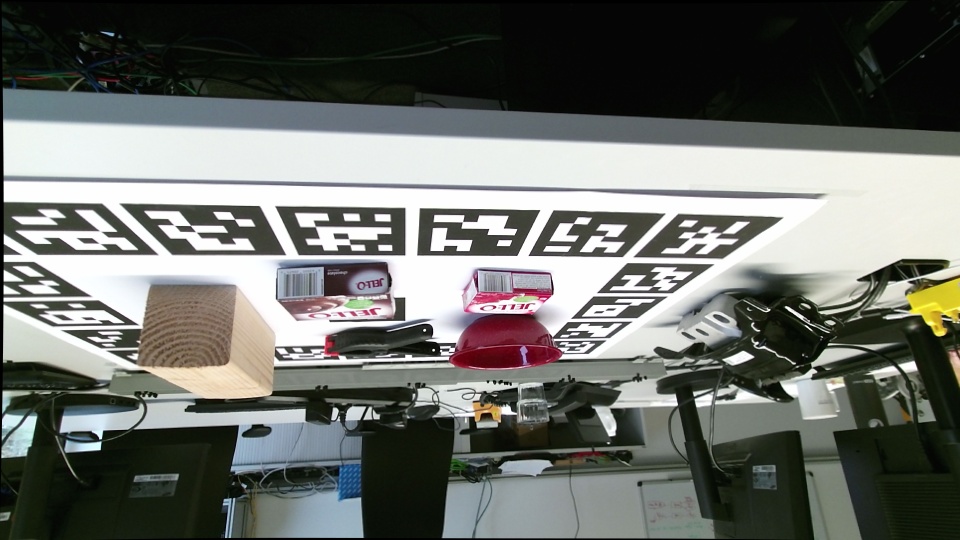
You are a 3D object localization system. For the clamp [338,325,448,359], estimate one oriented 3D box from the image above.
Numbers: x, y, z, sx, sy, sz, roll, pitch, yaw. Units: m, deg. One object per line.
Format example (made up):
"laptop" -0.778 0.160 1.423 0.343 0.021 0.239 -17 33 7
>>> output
"clamp" -0.129 0.113 0.791 0.166 0.036 0.122 -3 156 3

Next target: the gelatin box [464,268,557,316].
"gelatin box" 0.033 0.028 0.615 0.090 0.030 0.073 3 153 -15

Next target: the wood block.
"wood block" -0.321 0.101 0.650 0.090 0.090 0.206 1 155 -10

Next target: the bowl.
"bowl" 0.037 0.104 0.771 0.162 0.055 0.162 -3 153 -1

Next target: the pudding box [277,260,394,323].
"pudding box" -0.151 0.026 0.578 0.114 0.038 0.090 -3 152 -8
